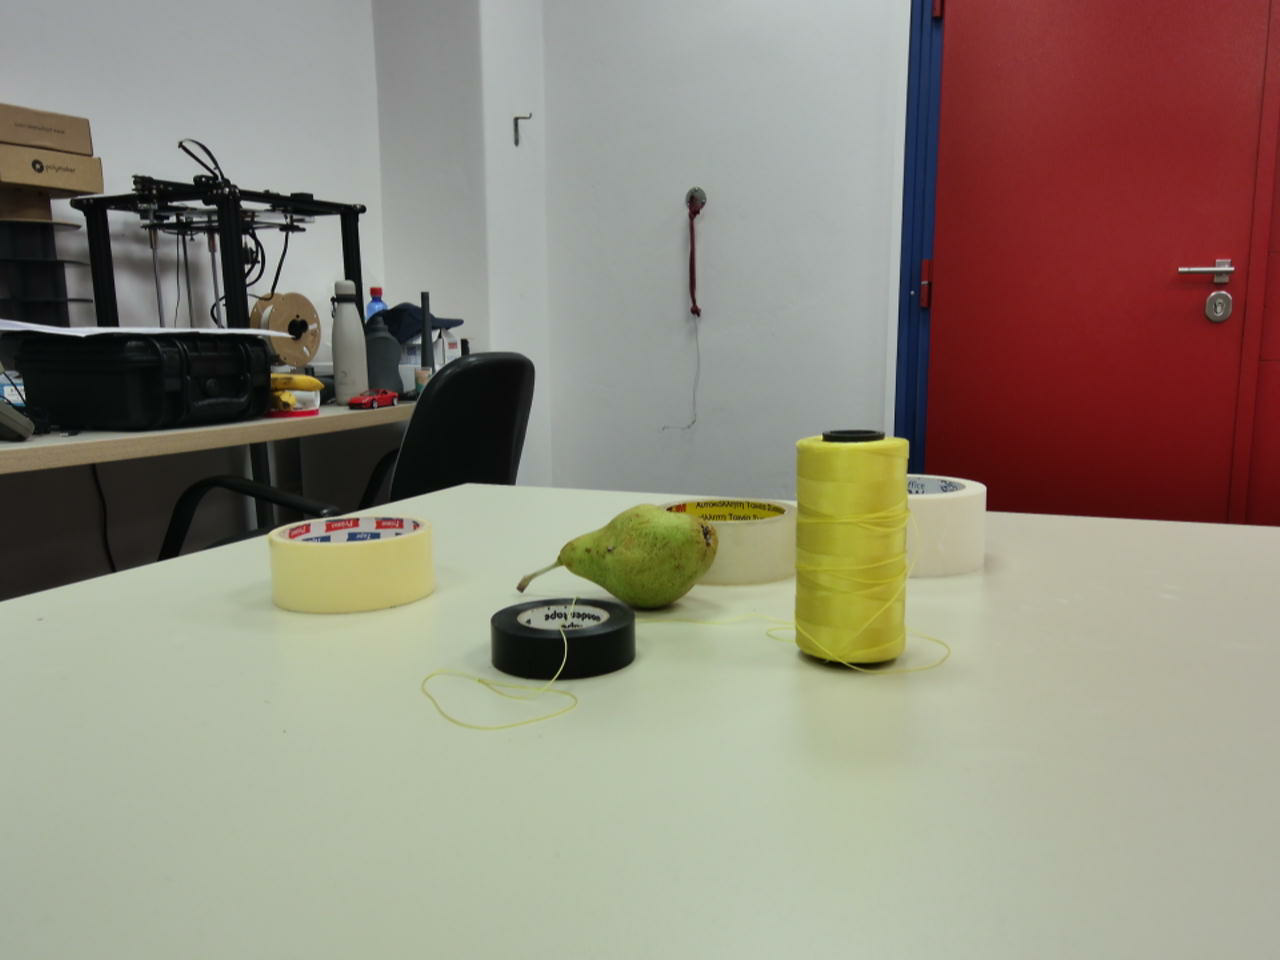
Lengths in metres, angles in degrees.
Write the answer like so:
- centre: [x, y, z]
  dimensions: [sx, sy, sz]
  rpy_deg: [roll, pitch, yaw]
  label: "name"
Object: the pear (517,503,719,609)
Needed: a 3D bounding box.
- centre: [-0.010, 0.040, 0.555]
  dimensions: [0.111, 0.056, 0.056]
  rpy_deg: [6, 7, 39]
  label: "pear"
